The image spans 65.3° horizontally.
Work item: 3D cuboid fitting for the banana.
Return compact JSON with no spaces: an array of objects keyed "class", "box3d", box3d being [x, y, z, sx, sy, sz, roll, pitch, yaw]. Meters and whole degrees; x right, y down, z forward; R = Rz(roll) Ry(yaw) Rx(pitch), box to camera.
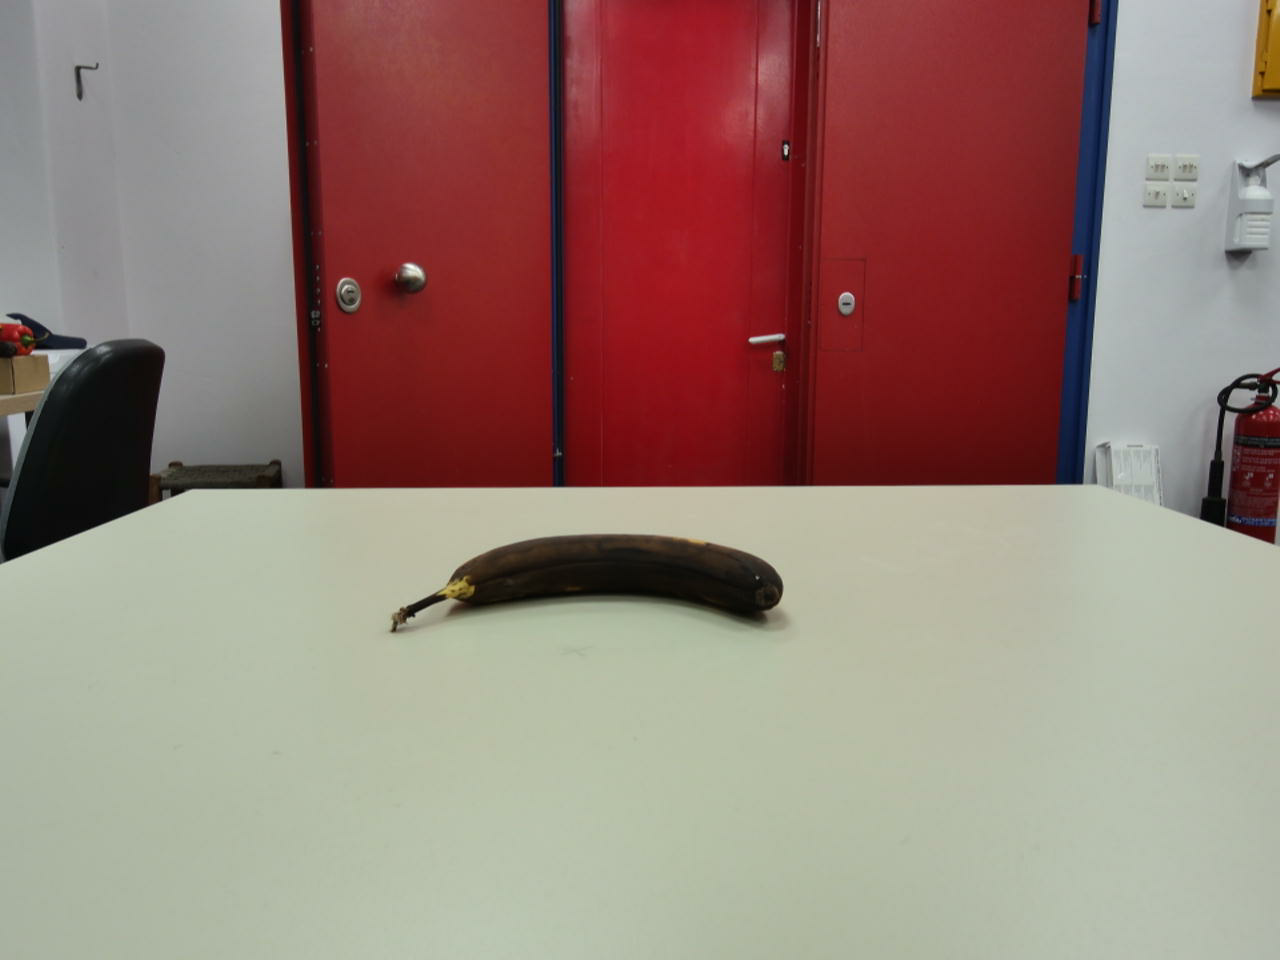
[{"class":"banana","box3d":[-0.024,0.049,0.515,0.188,0.033,0.091,0,6,1]}]
